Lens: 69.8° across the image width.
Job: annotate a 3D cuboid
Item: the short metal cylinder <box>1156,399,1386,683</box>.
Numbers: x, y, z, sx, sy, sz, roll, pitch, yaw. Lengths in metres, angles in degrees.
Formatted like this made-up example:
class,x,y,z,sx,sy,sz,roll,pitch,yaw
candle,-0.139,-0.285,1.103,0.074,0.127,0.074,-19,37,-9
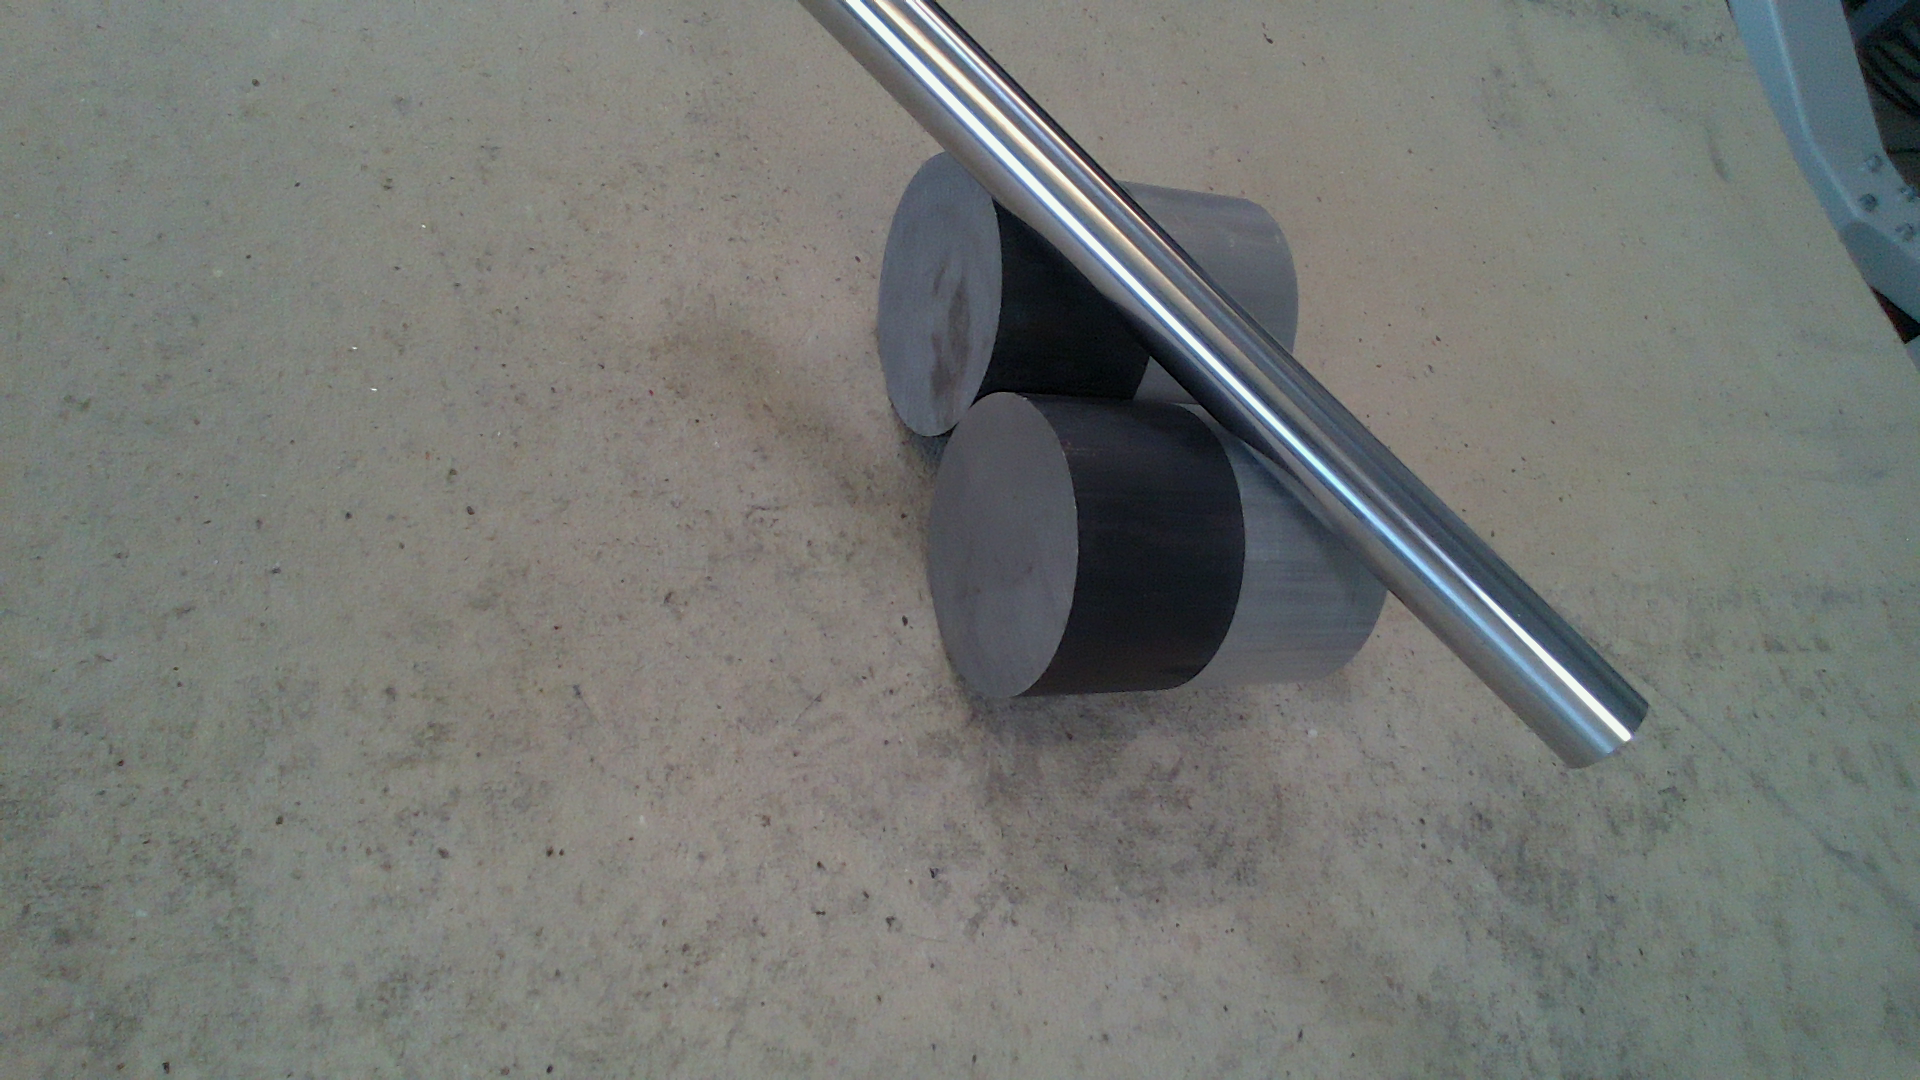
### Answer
class,x,y,z,sx,sy,sz,roll,pitch,yaw
short metal cylinder,0.076,0.001,0.395,0.050,0.080,0.080,1,61,-28

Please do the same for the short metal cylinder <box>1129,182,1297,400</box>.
class,x,y,z,sx,sy,sz,roll,pitch,yaw
short metal cylinder,0.059,-0.069,0.428,0.050,0.080,0.080,1,61,-28

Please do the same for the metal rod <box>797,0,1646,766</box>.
class,x,y,z,sx,sy,sz,roll,pitch,yaw
metal rod,0.056,-0.059,0.353,0.300,0.025,0.025,45,51,3

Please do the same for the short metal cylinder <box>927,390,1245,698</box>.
class,x,y,z,sx,sy,sz,roll,pitch,yaw
short metal cylinder,0.031,0.001,0.371,0.050,0.080,0.080,1,61,-28

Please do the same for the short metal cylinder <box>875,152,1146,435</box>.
class,x,y,z,sx,sy,sz,roll,pitch,yaw
short metal cylinder,0.014,-0.070,0.405,0.050,0.080,0.080,1,61,-28
